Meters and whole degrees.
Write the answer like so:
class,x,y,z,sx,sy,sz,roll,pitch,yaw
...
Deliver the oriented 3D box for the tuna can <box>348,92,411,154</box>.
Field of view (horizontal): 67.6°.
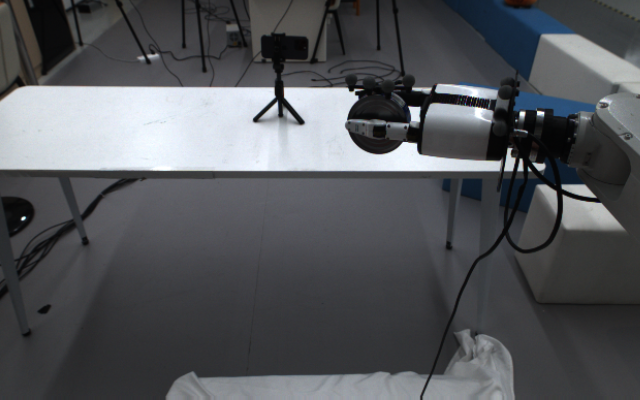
class,x,y,z,sx,sy,sz,roll,pitch,yaw
tuna can,0.085,-0.113,0.682,0.085,0.085,0.034,13,29,16
